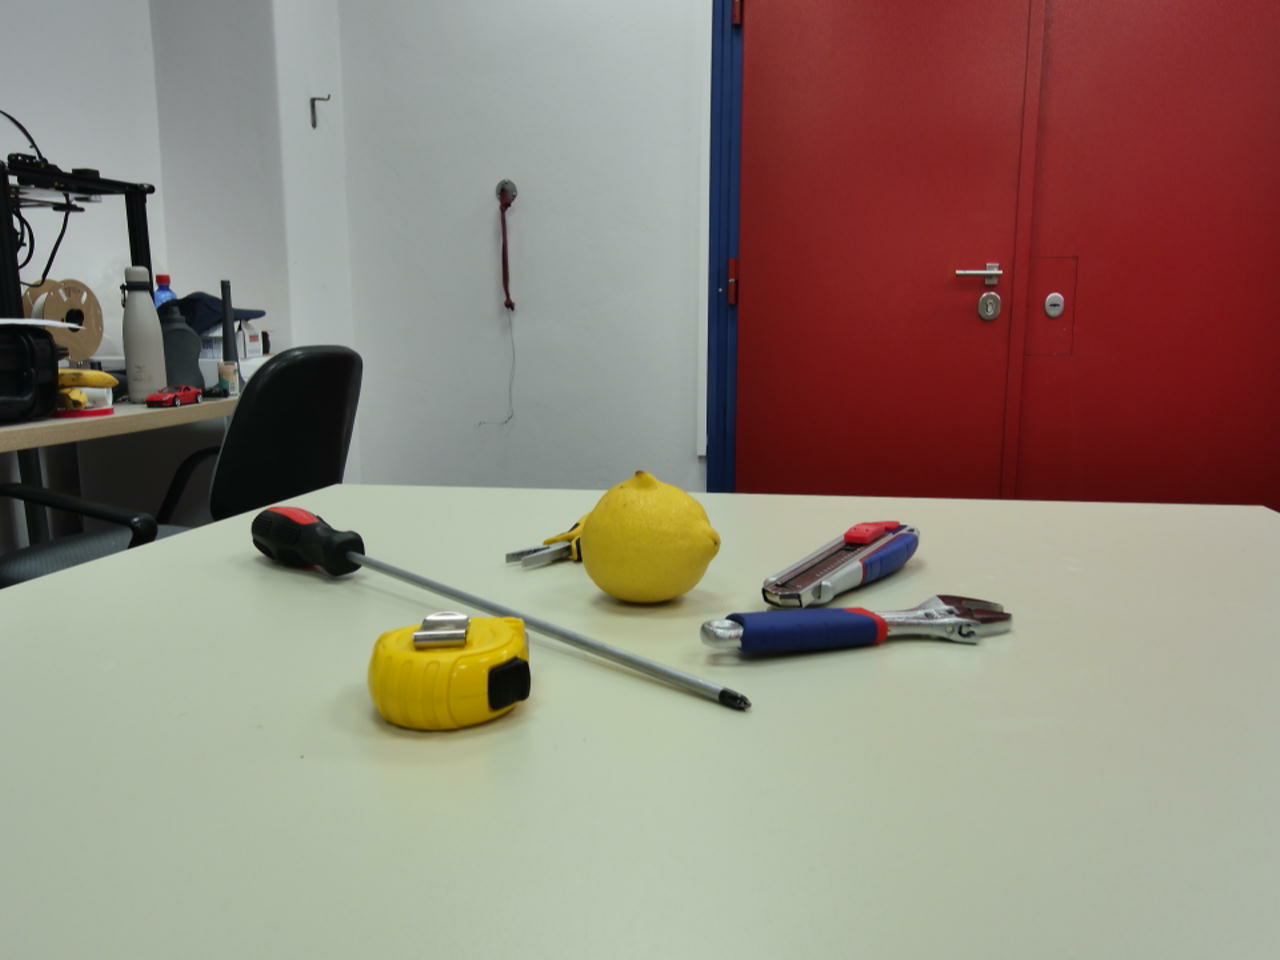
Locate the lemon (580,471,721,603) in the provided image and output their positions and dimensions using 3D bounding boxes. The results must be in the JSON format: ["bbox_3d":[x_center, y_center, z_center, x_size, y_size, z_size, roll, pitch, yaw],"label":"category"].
[{"bbox_3d":[0.004,0.031,0.543,0.070,0.071,0.071,-3,7,-22],"label":"lemon"}]
